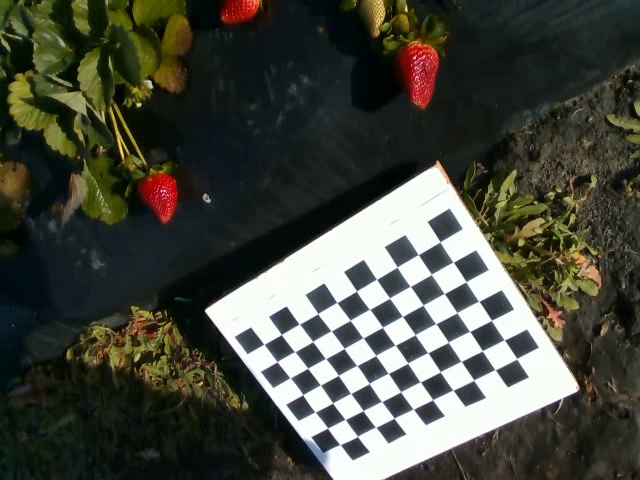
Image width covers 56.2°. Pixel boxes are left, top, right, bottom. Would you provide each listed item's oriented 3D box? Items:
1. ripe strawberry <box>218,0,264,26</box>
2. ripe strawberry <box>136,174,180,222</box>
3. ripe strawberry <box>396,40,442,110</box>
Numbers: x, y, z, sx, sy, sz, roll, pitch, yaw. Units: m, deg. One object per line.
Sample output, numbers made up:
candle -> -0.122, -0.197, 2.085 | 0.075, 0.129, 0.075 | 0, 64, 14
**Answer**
ripe strawberry -> -0.072, -0.196, 0.503 | 0.046, 0.035, 0.036 | -33, 9, 8
ripe strawberry -> -0.154, -0.040, 0.573 | 0.045, 0.055, 0.041 | -24, -19, 11
ripe strawberry -> 0.075, -0.128, 0.472 | 0.042, 0.059, 0.042 | -10, 5, 8
